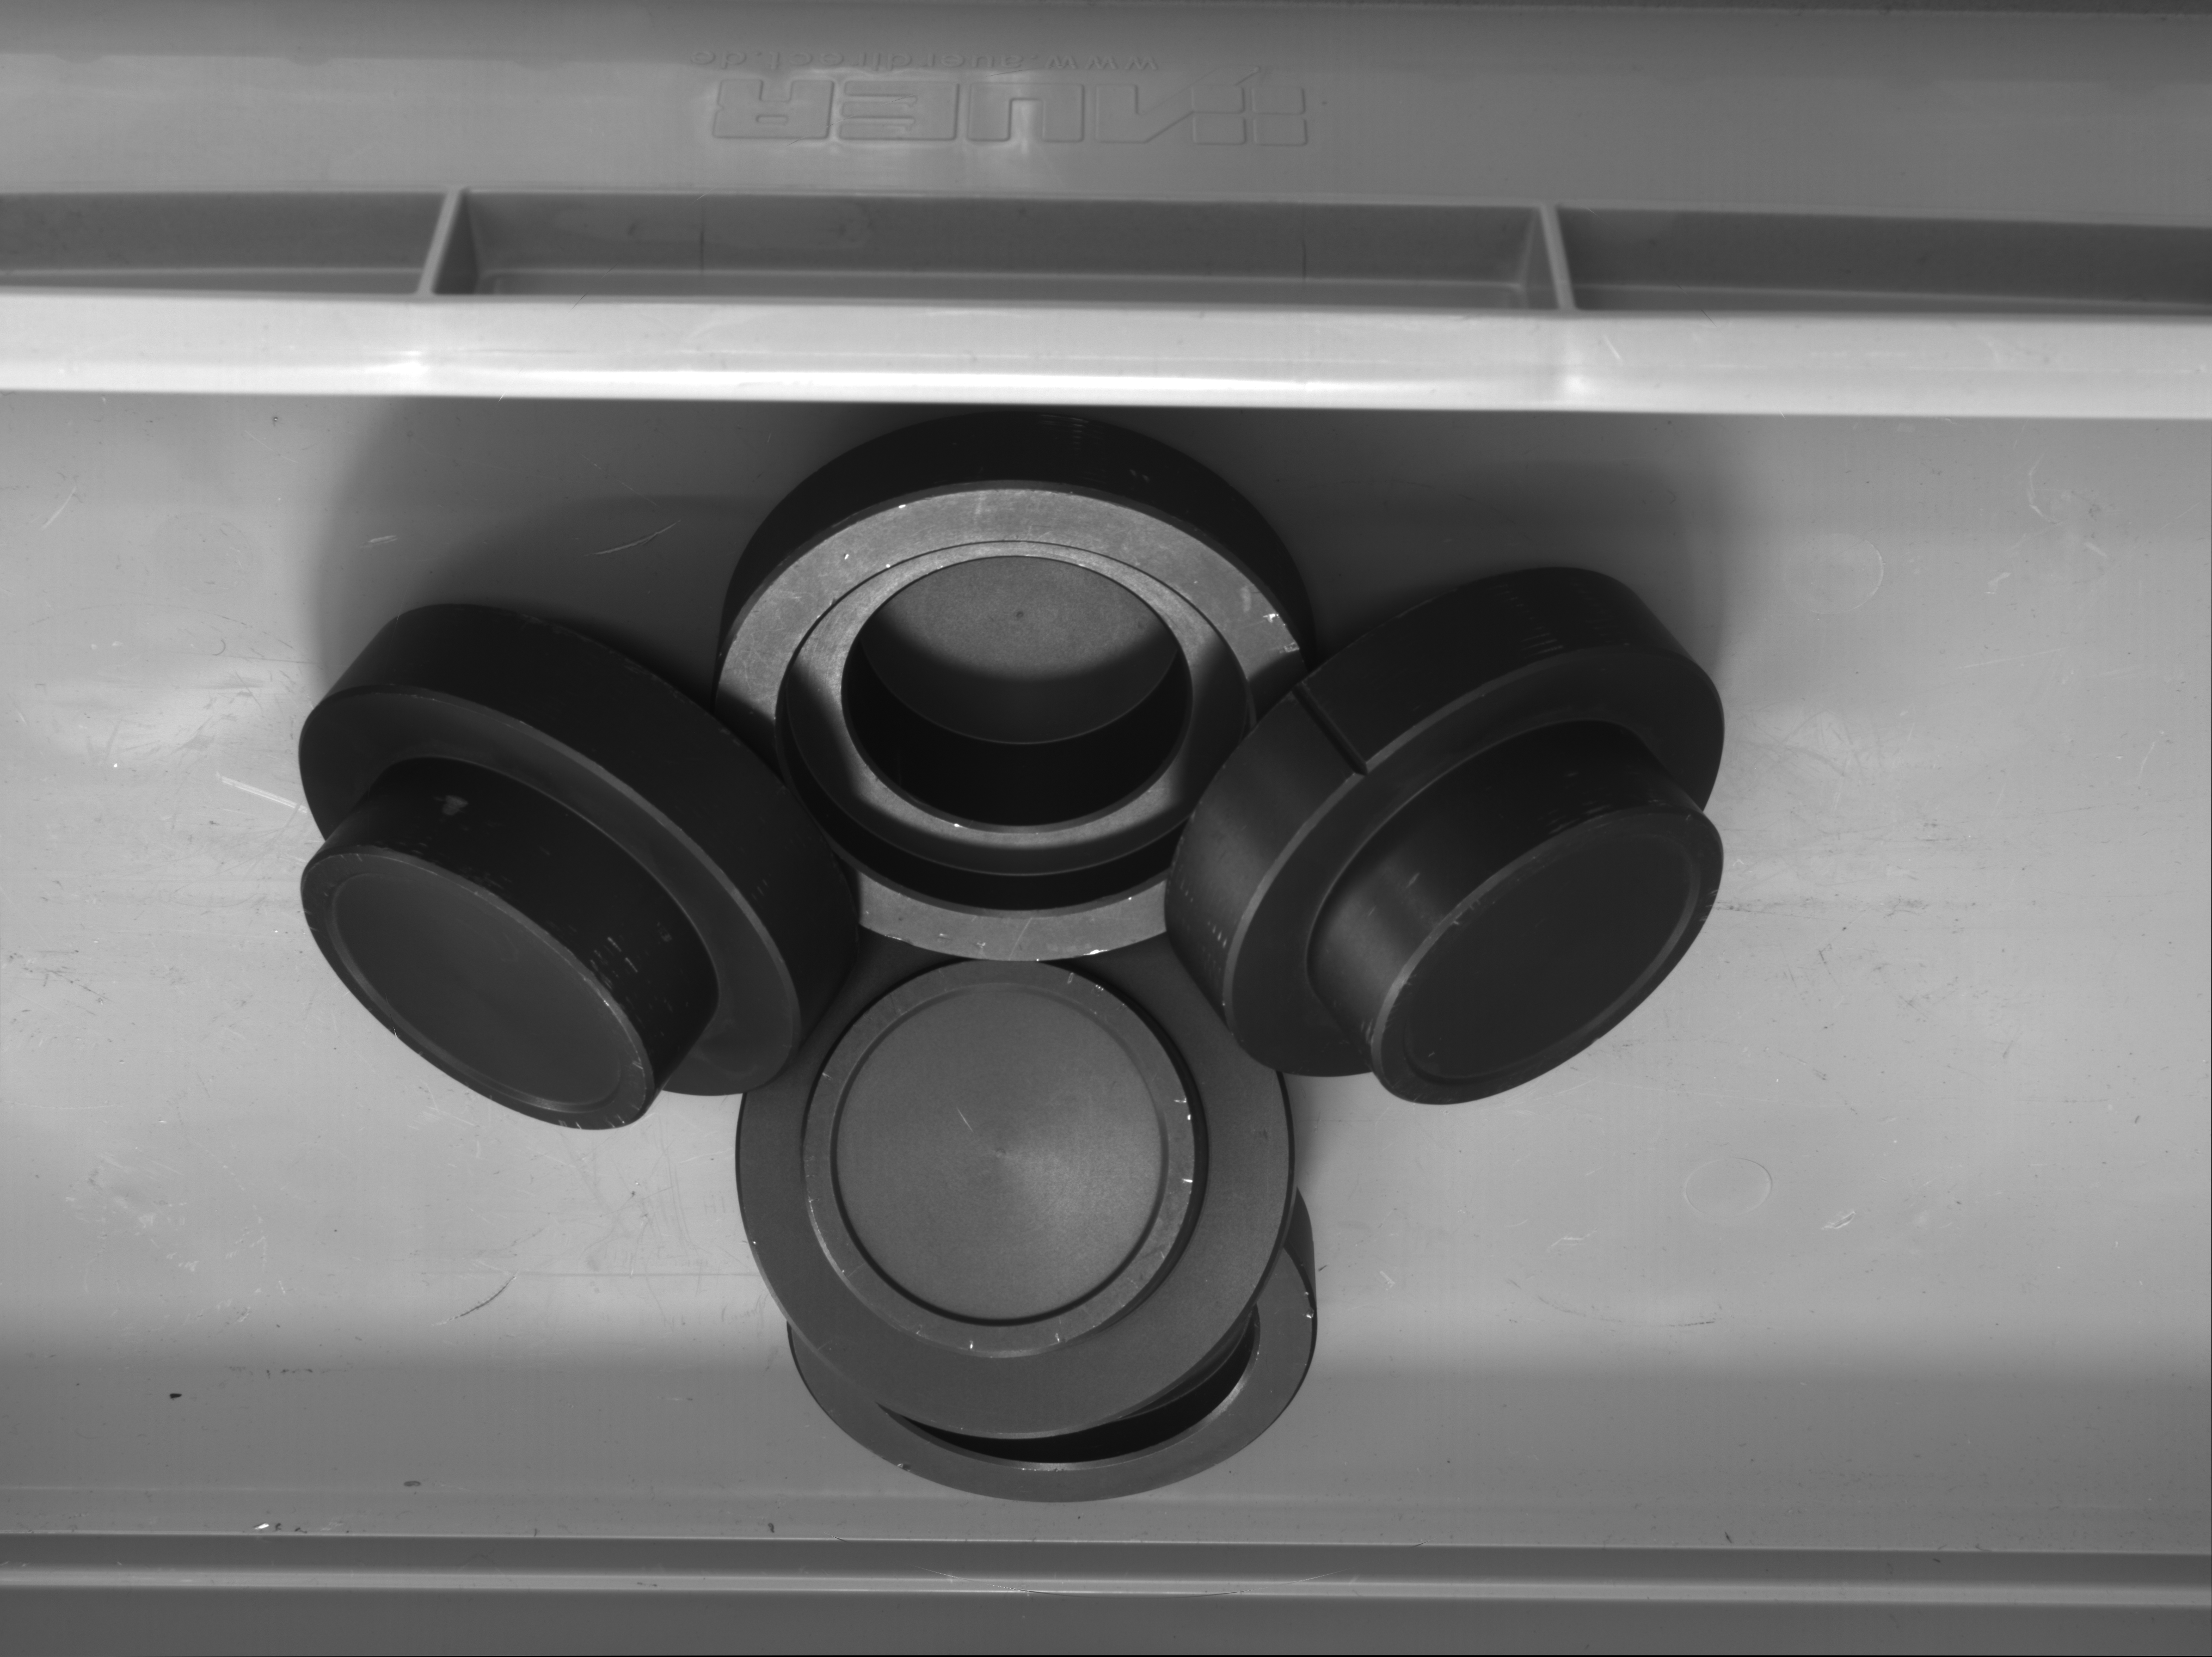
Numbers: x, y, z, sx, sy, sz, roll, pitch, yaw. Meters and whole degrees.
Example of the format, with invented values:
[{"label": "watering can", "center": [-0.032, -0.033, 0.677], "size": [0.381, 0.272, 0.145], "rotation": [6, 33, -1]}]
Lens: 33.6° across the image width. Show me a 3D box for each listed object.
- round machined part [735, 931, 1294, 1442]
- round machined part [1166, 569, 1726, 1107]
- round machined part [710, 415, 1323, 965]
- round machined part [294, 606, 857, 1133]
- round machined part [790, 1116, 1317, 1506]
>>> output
[{"label": "round machined part", "center": [-0.016, 0.057, 0.637], "size": [0.098, 0.098, 0.042], "rotation": [-5, 174, 4]}, {"label": "round machined part", "center": [0.062, 0.008, 0.604], "size": [0.098, 0.042, 0.098], "rotation": [-24, 146, -18]}, {"label": "round machined part", "center": [-0.014, -0.027, 0.602], "size": [0.098, 0.042, 0.098], "rotation": [0, 130, 0]}, {"label": "round machined part", "center": [-0.094, 0.013, 0.608], "size": [0.098, 0.042, 0.098], "rotation": [22, 146, 16]}, {"label": "round machined part", "center": [-0.010, 0.080, 0.693], "size": [0.098, 0.042, 0.098], "rotation": [0, 130, 0]}]
